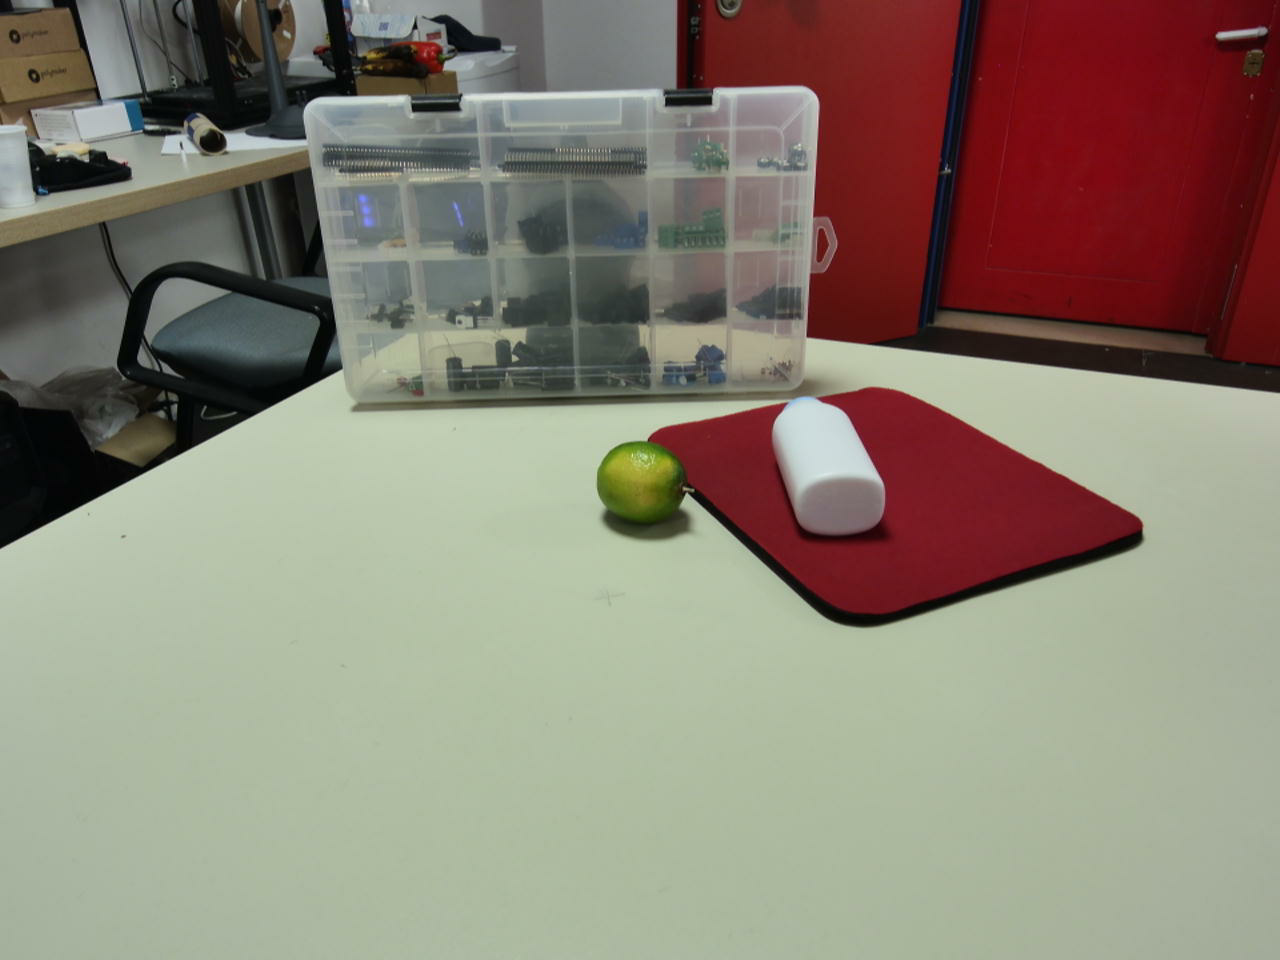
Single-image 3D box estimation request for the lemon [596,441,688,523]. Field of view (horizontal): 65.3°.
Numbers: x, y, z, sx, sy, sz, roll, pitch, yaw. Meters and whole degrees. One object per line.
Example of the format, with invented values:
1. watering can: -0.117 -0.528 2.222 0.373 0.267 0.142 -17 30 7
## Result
1. lemon: 0.001 0.001 0.621 0.054 0.050 0.055 -6 27 -14
